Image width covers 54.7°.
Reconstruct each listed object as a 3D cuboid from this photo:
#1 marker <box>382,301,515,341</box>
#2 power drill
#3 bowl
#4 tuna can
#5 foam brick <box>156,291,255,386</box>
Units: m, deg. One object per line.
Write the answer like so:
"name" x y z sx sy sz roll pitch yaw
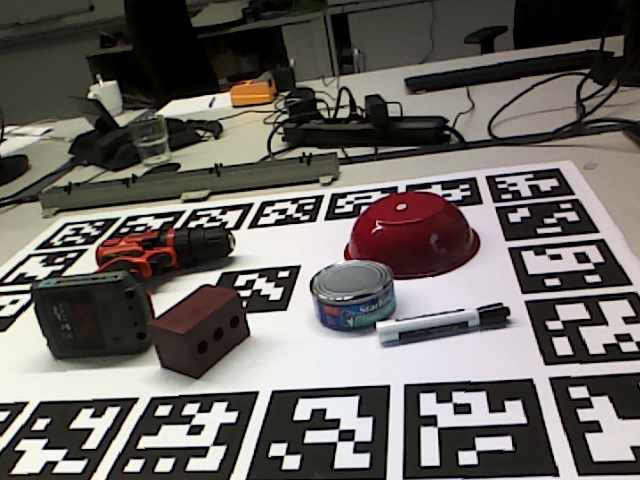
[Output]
"marker" 0.118 0.074 0.569 0.121 0.019 0.020 -10 27 1
"power drill" -0.212 0.050 0.717 0.185 0.057 0.187 -3 24 7
"bowl" 0.102 -0.009 0.735 0.162 0.055 0.162 -11 18 3
"tuna can" 0.039 0.054 0.628 0.086 0.033 0.086 -7 26 3
"foam brick" -0.110 0.093 0.599 0.052 0.052 0.078 8 32 31
